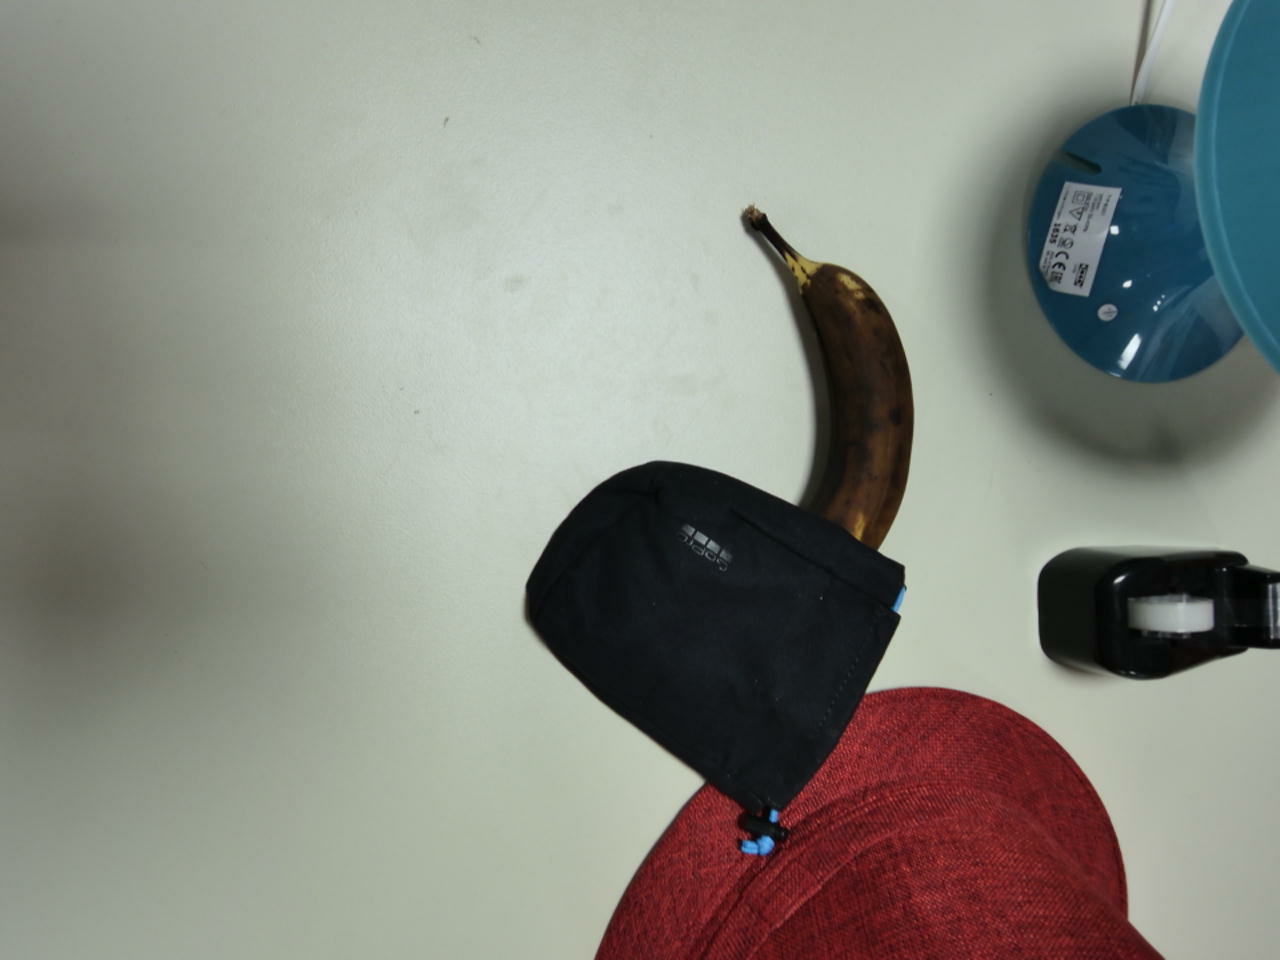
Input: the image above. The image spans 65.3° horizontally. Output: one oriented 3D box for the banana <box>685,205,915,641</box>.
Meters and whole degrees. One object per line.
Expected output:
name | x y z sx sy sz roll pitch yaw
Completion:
banana | 0.077 -0.020 0.438 0.091 0.034 0.188 11 88 -11
